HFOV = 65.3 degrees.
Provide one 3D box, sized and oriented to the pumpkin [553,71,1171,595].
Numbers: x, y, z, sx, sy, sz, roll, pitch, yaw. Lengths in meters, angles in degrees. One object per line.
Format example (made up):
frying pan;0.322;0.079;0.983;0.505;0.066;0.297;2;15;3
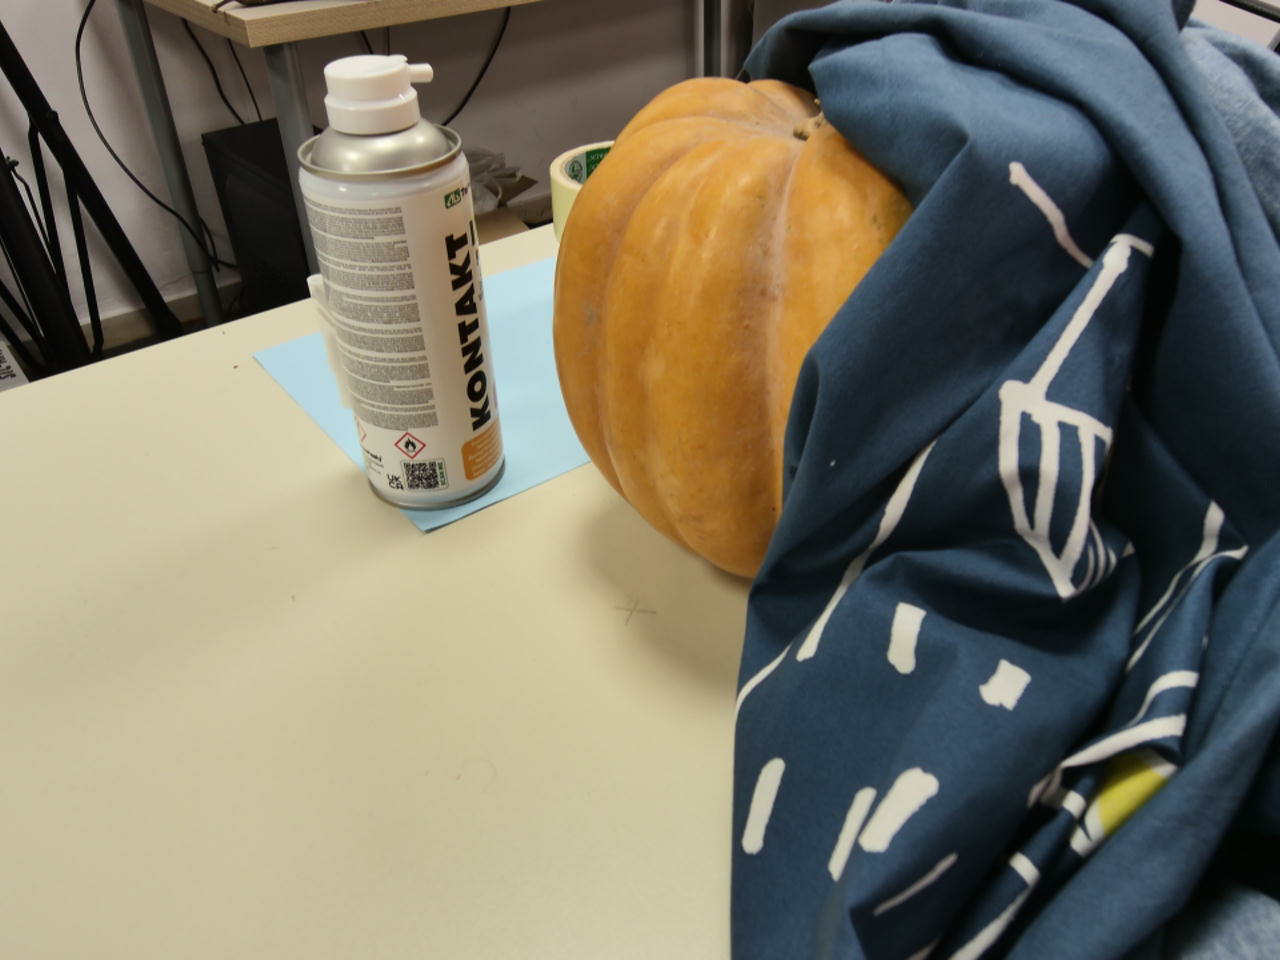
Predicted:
pumpkin;0.078;-0.061;0.394;0.230;0.194;0.230;0;35;0
